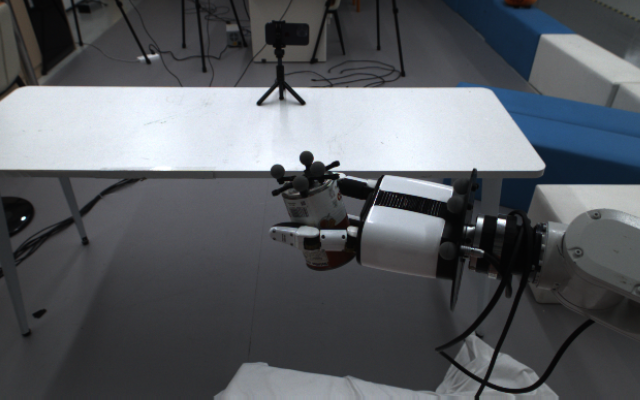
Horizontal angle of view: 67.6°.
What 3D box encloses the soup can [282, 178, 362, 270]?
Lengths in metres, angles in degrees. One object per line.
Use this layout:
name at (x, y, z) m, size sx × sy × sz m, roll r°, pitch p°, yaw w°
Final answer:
soup can at (0.002, 0.024, 0.578) m, size 0.067 × 0.101 × 0.067 m, roll -16°, pitch 22°, yaw 7°
